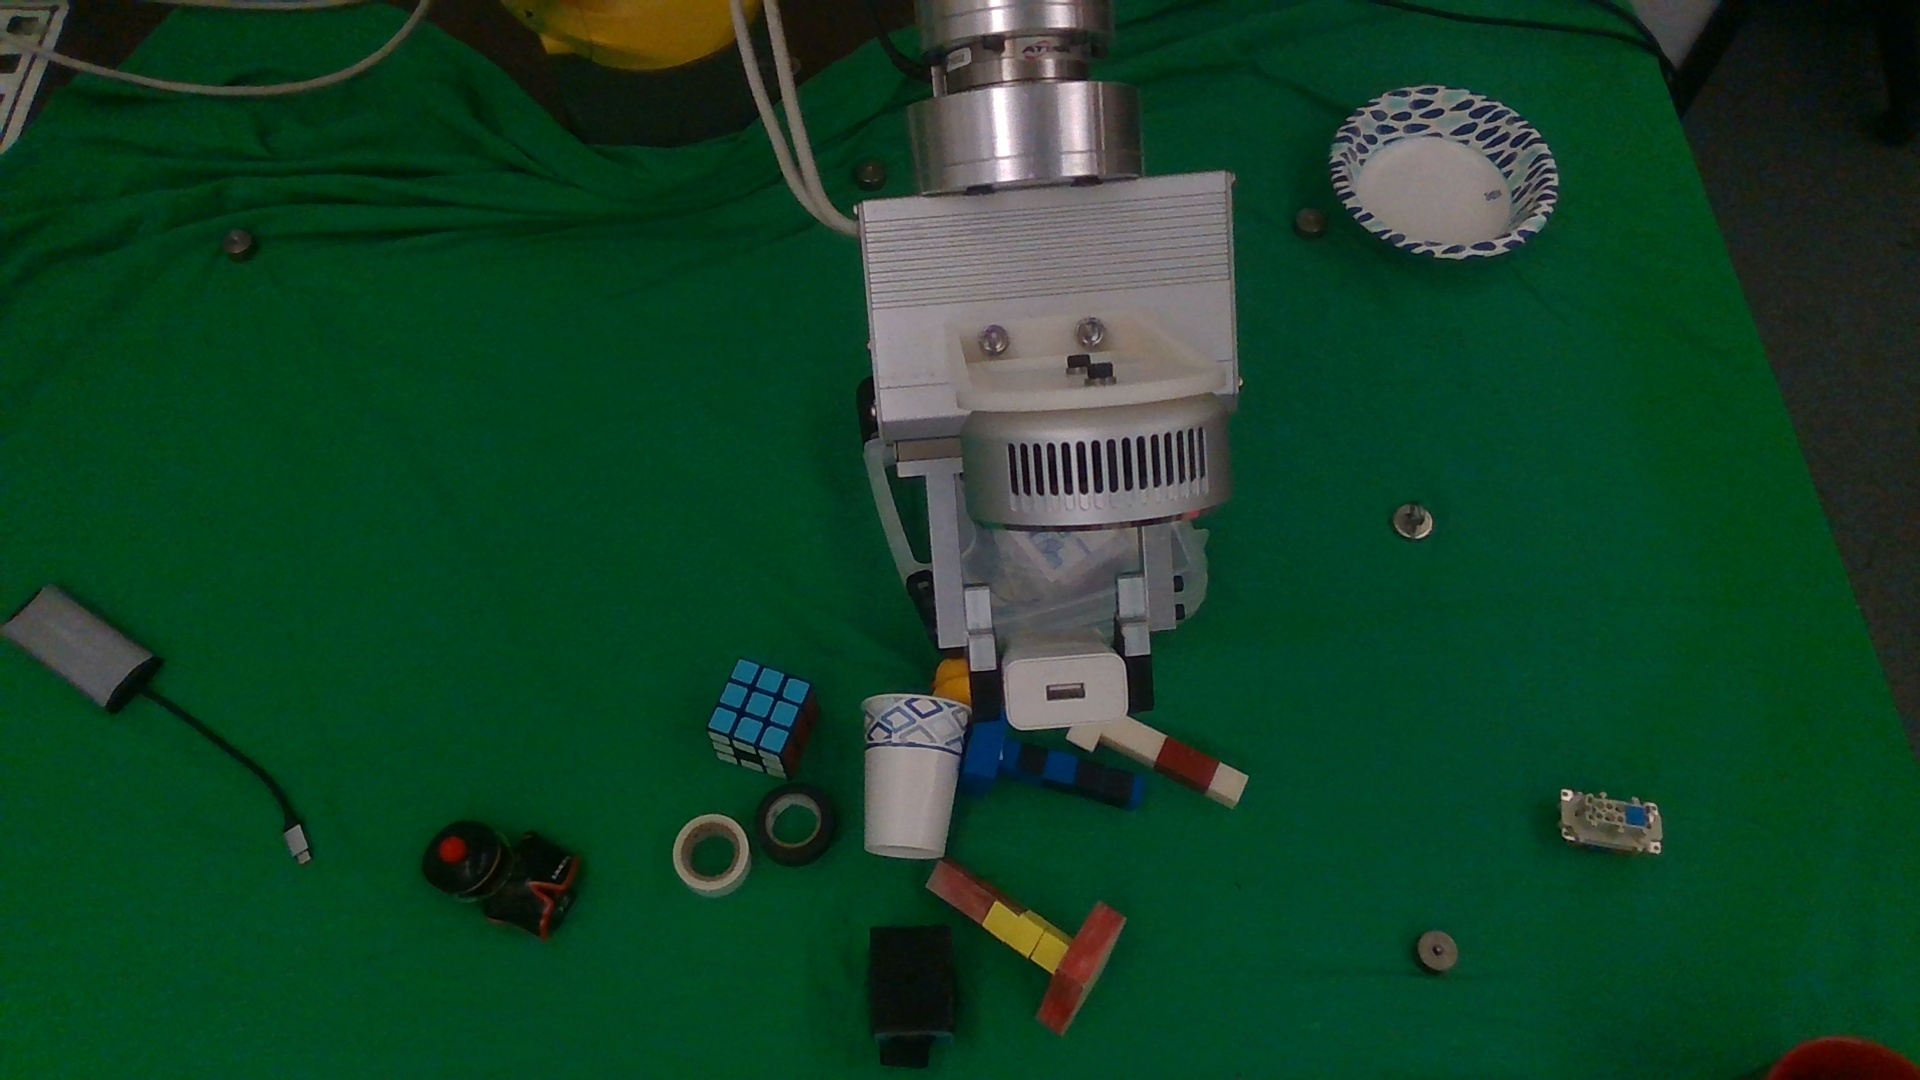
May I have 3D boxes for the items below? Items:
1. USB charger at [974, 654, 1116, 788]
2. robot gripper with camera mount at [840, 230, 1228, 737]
[{"bbox_3d":[0.029,0.057,0.468,0.045,0.075,0.029,4,101,4],"label":"USB charger"},{"bbox_3d":[0.030,-0.006,0.373,0.119,0.193,0.158,-5,96,-1],"label":"robot gripper with camera mount"}]
